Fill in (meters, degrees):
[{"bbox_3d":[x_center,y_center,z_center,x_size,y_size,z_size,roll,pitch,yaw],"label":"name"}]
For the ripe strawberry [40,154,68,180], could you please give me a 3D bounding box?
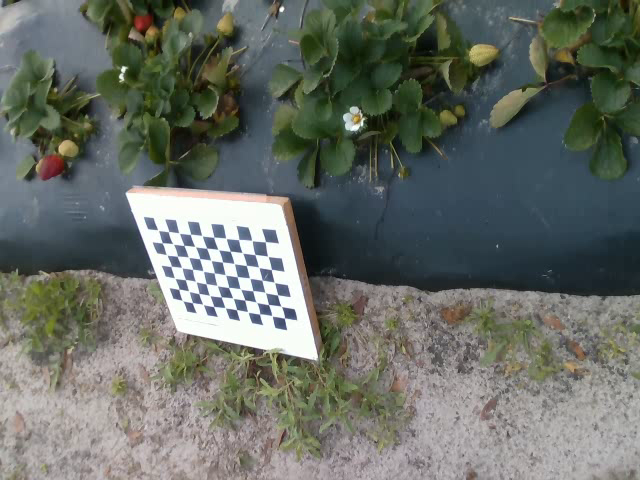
[{"bbox_3d":[-0.494,-0.127,1.182,0.046,0.059,0.046,1,-38,34],"label":"ripe strawberry"}]
